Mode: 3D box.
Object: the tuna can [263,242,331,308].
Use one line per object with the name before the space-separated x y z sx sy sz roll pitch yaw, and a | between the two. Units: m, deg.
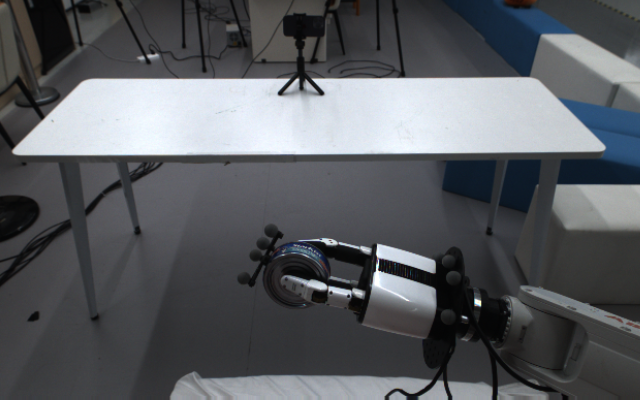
tuna can | -0.026 0.102 0.627 0.085 0.085 0.034 3 21 1
